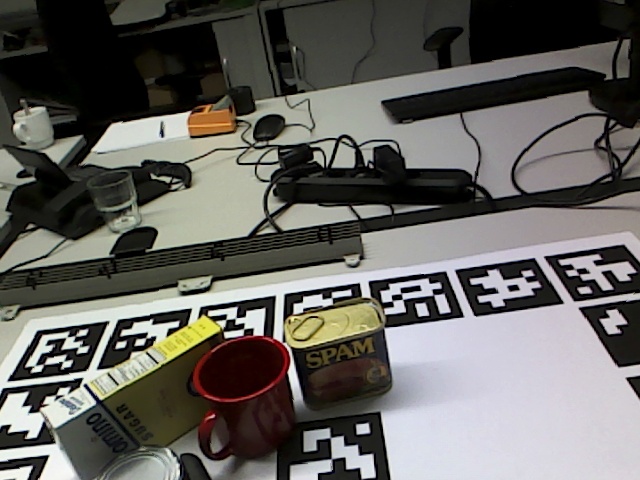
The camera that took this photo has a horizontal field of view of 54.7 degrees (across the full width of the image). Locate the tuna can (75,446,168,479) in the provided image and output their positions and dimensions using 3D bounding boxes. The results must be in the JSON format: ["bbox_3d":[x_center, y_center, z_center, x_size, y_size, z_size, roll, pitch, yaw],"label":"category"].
[{"bbox_3d":[-0.175,0.227,0.542,0.086,0.033,0.086,-8,32,4],"label":"tuna can"}]

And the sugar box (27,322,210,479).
[{"bbox_3d":[-0.180,0.164,0.607,0.176,0.092,0.045,-28,33,-32],"label":"sugar box"}]

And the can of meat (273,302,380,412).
[{"bbox_3d":[0.009,0.120,0.633,0.102,0.083,0.058,-12,28,-6],"label":"can of meat"}]

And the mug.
[{"bbox_3d":[-0.088,0.154,0.589,0.094,0.081,0.117,5,35,23],"label":"mug"}]

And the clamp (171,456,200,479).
[{"bbox_3d":[-0.095,0.247,0.494,0.166,0.036,0.121,15,33,29],"label":"clamp"}]
